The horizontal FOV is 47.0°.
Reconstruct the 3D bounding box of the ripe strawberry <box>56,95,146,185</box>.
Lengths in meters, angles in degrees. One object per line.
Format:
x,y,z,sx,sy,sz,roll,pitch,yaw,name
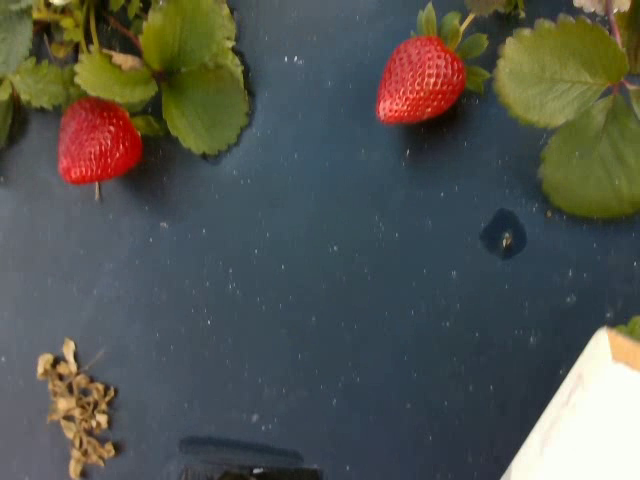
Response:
-0.110,-0.039,0.347,0.050,0.046,0.050,26,41,5,ripe strawberry

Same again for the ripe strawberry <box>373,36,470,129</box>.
0.037,-0.059,0.295,0.052,0.045,0.041,-46,5,-20,ripe strawberry
